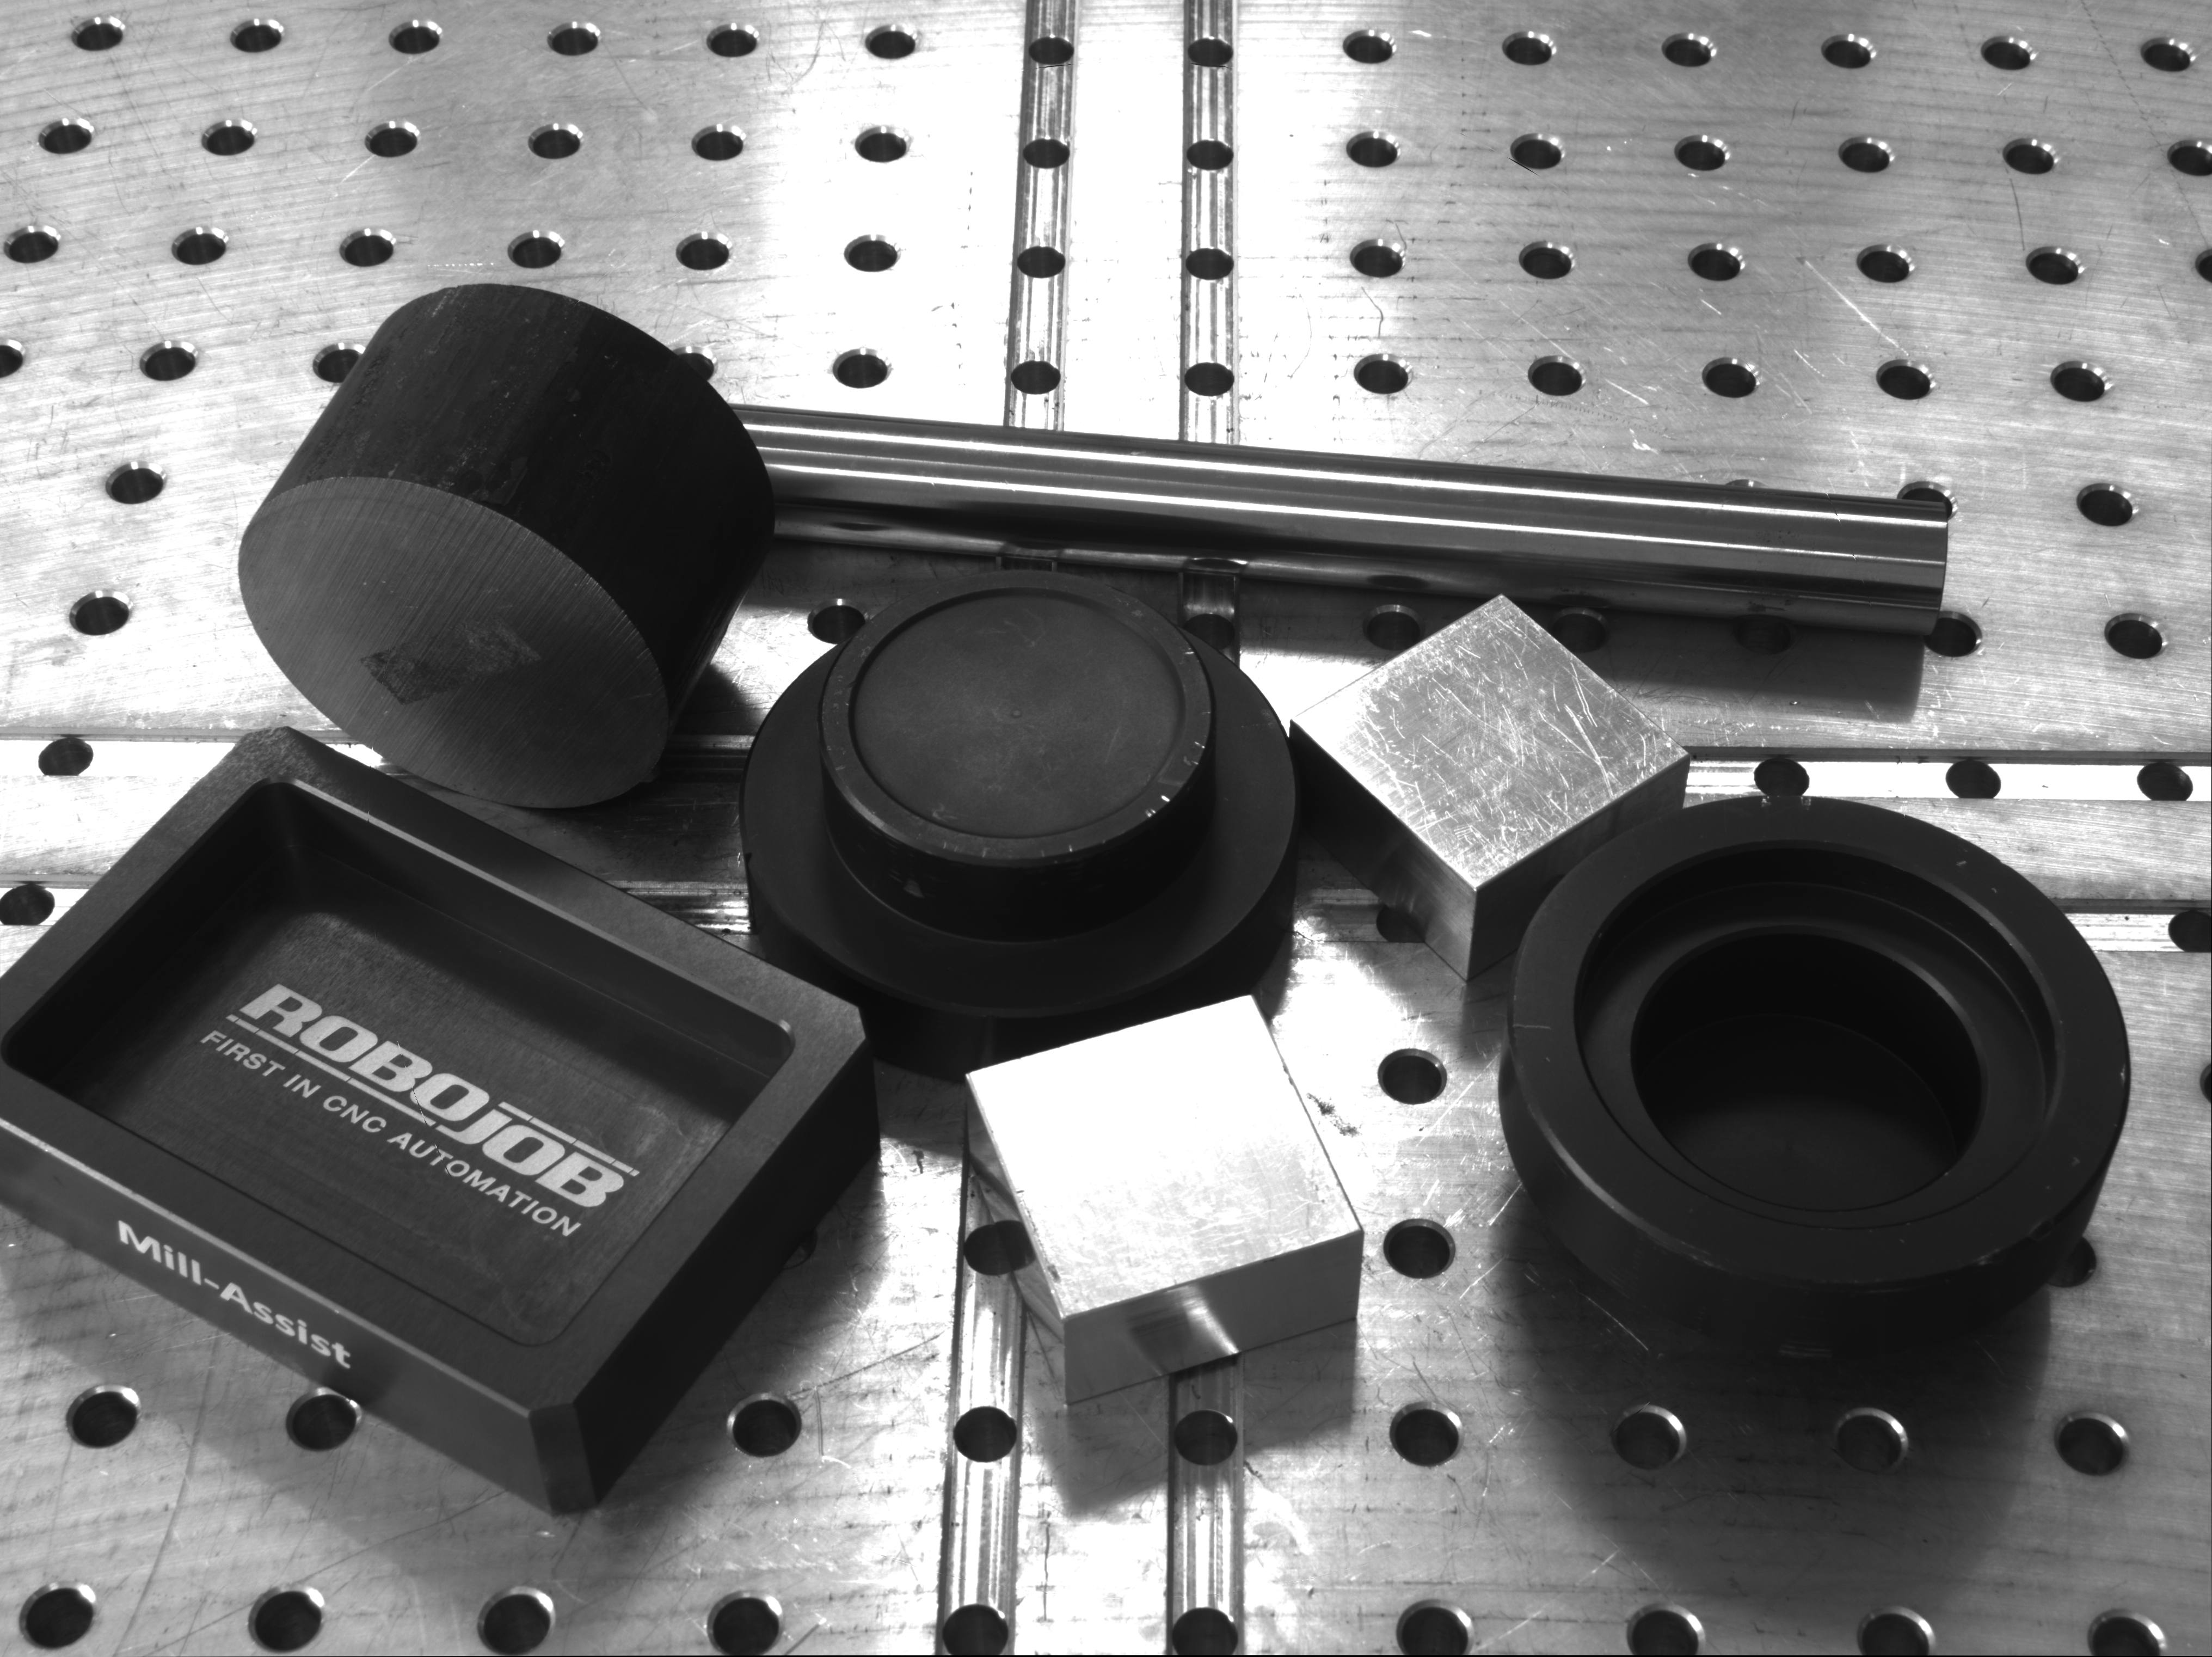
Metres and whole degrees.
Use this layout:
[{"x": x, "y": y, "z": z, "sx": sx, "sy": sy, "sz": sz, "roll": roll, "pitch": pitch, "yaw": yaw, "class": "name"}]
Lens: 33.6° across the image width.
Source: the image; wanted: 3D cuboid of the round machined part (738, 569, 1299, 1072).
[{"x": -0.015, "y": -0.007, "z": 0.639, "sx": 0.098, "sy": 0.042, "sz": 0.098, "roll": 0, "pitch": 47, "yaw": 0, "class": "round machined part"}]

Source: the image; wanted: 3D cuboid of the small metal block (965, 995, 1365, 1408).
[{"x": 0.009, "y": 0.060, "z": 0.595, "sx": 0.050, "sy": 0.025, "sz": 0.050, "roll": -15, "pitch": 51, "yaw": -12, "class": "small metal block"}]

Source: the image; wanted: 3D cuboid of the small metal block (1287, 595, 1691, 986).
[{"x": 0.067, "y": -0.007, "z": 0.652, "sx": 0.050, "sy": 0.025, "sz": 0.050, "roll": -31, "pitch": 56, "yaw": -23, "class": "small metal block"}]

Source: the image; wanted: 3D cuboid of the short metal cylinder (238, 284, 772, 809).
[{"x": -0.106, "y": -0.049, "z": 0.650, "sx": 0.080, "sy": 0.080, "sz": 0.050, "roll": 14, "pitch": 51, "yaw": 11, "class": "short metal cylinder"}]

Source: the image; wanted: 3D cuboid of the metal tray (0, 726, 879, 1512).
[{"x": -0.115, "y": 0.044, "z": 0.604, "sx": 0.130, "sy": 0.030, "sz": 0.090, "roll": 24, "pitch": 54, "yaw": 20, "class": "metal tray"}]

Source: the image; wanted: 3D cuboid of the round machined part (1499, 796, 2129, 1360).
[{"x": 0.112, "y": 0.045, "z": 0.596, "sx": 0.098, "sy": 0.042, "sz": 0.098, "roll": 0, "pitch": 50, "yaw": 0, "class": "round machined part"}]

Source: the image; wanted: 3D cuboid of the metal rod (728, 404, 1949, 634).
[{"x": 0.006, "y": -0.062, "z": 0.696, "sx": 0.300, "sy": 0.025, "sz": 0.025, "roll": 5, "pitch": 50, "yaw": 4, "class": "metal rod"}]
